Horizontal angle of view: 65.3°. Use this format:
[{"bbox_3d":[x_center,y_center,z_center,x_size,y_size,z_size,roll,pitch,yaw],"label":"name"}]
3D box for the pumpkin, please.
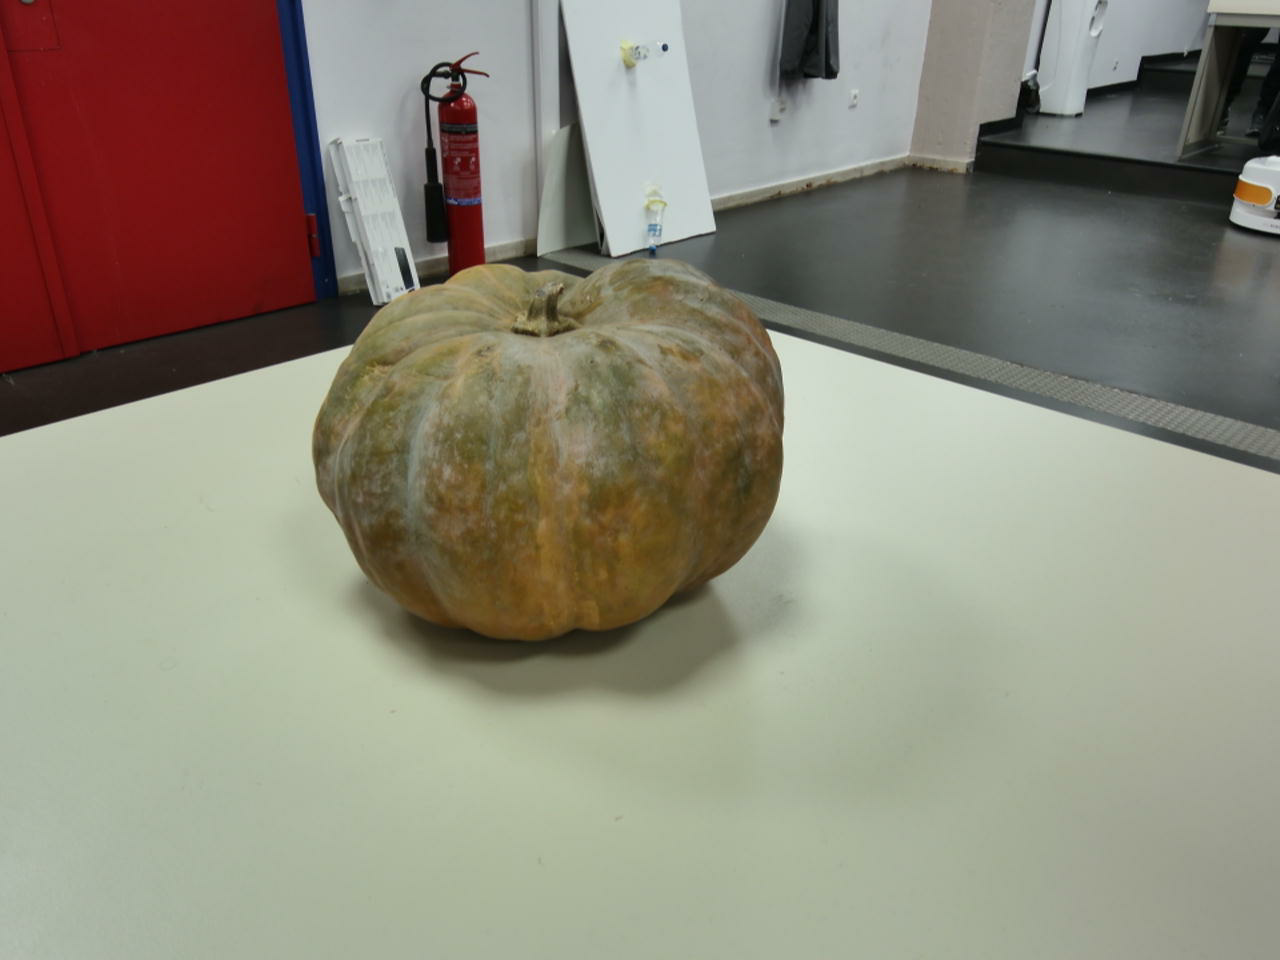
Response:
[{"bbox_3d":[-0.046,-0.023,0.529,0.252,0.169,0.251,0,26,0],"label":"pumpkin"}]
